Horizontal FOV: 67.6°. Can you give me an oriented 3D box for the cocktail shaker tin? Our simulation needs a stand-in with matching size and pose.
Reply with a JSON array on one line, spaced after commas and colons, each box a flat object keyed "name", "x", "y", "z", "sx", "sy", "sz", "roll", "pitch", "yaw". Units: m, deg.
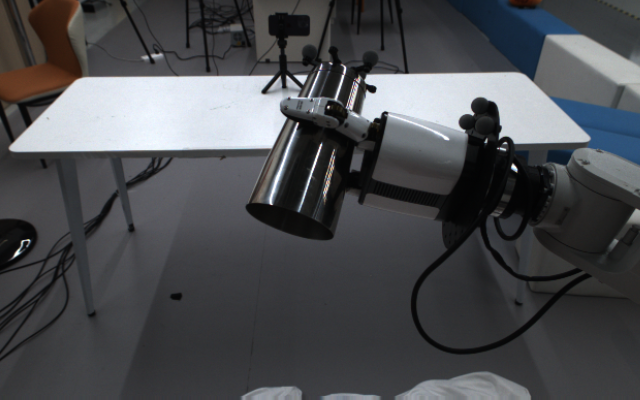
[{"name": "cocktail shaker tin", "x": -0.006, "y": -0.054, "z": 0.503, "sx": 0.093, "sy": 0.093, "sz": 0.170, "roll": 13, "pitch": 70, "yaw": 15}]
